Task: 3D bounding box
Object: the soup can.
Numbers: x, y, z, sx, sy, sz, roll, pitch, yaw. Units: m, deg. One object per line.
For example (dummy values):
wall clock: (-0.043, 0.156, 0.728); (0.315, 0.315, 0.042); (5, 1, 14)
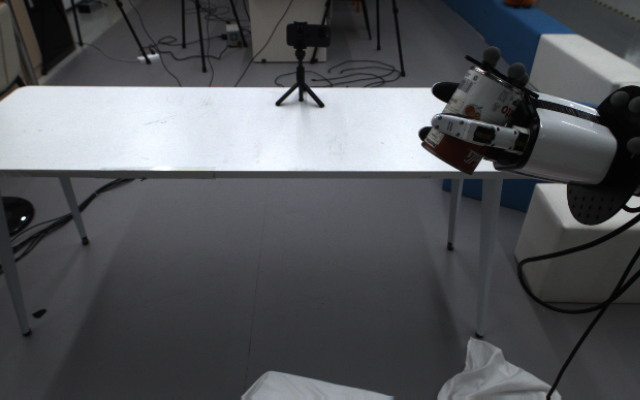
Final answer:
soup can: (0.171, -0.089, 0.543); (0.067, 0.101, 0.067); (27, 18, -9)
